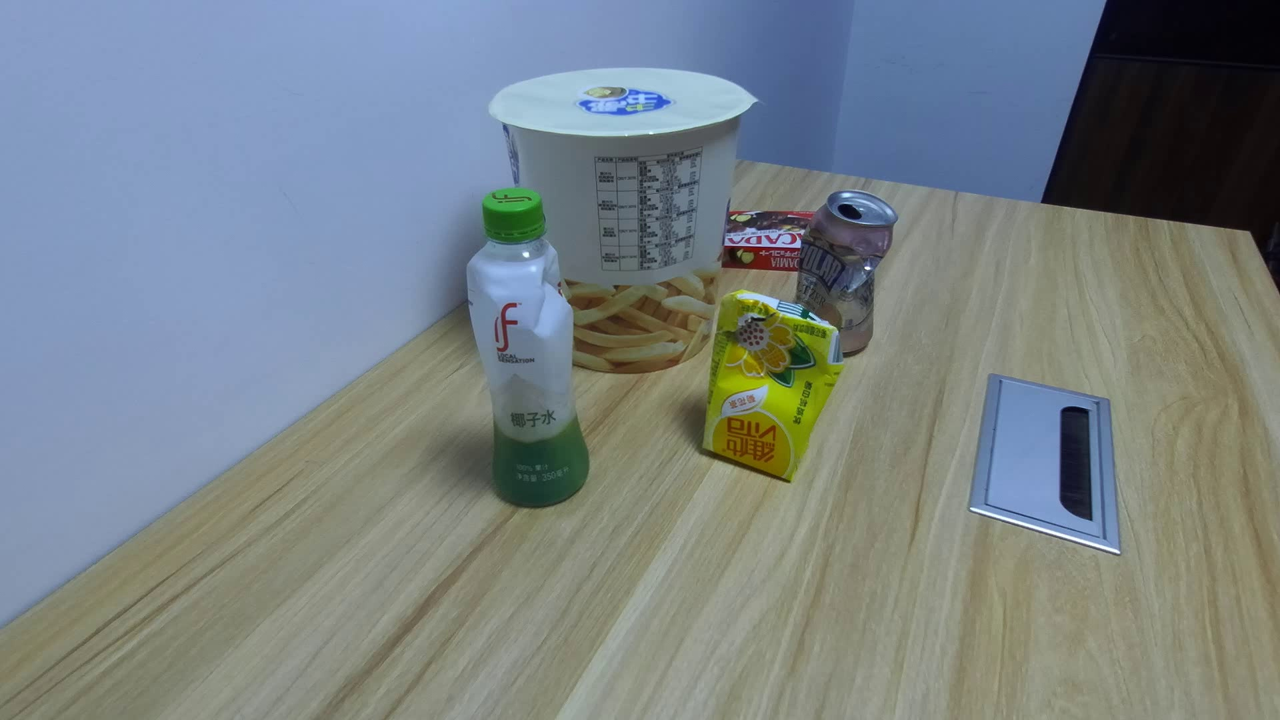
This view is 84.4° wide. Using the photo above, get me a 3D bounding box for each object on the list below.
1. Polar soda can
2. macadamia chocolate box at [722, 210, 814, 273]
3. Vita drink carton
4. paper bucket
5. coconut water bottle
[{"bbox_3d":[0.167,-0.064,0.564,0.067,0.122,0.070,-6,32,-22],"label":"Polar soda can"},{"bbox_3d":[0.117,-0.127,0.735,0.183,0.028,0.105,3,34,5],"label":"macadamia chocolate box"},{"bbox_3d":[0.083,0.013,0.454,0.086,0.108,0.042,19,25,22],"label":"Vita drink carton"},{"bbox_3d":[-0.012,-0.109,0.559,0.198,0.195,0.198,-1,34,1],"label":"paper bucket"},{"bbox_3d":[-0.064,-0.003,0.409,0.069,0.186,0.069,0,36,0],"label":"coconut water bottle"}]
